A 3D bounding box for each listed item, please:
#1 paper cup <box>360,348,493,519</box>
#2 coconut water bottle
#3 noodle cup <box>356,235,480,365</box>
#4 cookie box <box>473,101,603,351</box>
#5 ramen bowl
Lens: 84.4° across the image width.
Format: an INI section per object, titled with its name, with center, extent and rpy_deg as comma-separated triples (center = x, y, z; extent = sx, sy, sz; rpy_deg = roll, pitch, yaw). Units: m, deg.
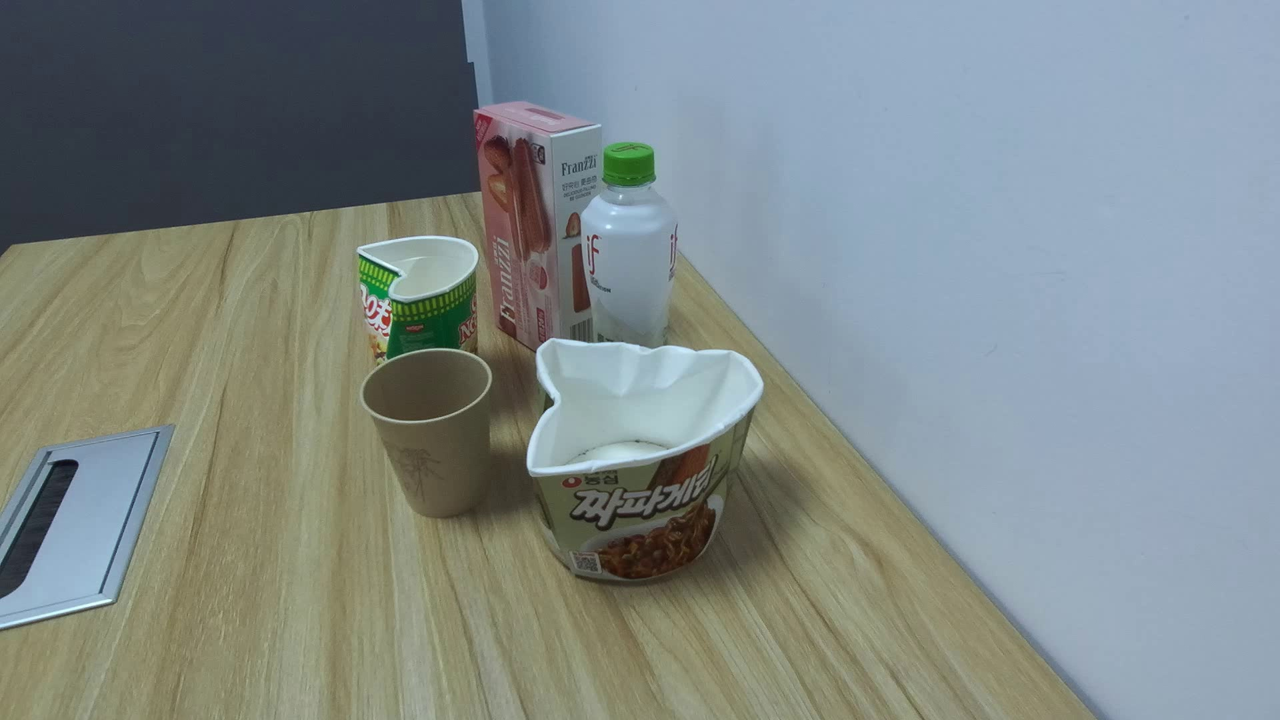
[paper cup]
center = -0.122, 0.047, 0.430
extent = 0.075, 0.082, 0.075
rpy_deg = 0, 34, 0
[coconut water bottle]
center = -0.007, -0.045, 0.470
extent = 0.063, 0.189, 0.063
rpy_deg = 0, 31, 0
[noodle cup]
center = -0.153, -0.019, 0.506
extent = 0.087, 0.109, 0.093
rpy_deg = -6, 36, -9
[cookie box]
center = -0.075, -0.095, 0.550
extent = 0.048, 0.185, 0.095
rpy_deg = -25, 40, -36
[ramen bowl]
center = 0.004, 0.052, 0.406
extent = 0.134, 0.097, 0.113
rpy_deg = -5, 35, -7
